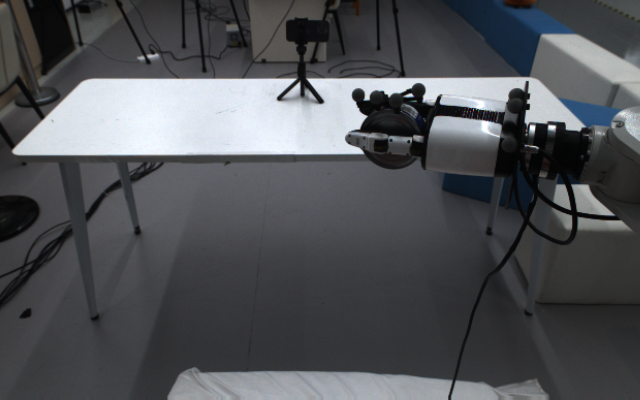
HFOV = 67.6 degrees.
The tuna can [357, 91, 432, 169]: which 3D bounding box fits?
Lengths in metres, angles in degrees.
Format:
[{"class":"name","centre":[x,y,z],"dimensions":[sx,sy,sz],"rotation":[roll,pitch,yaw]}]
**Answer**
[{"class":"tuna can","centre":[0.099,-0.088,0.648],"dimensions":[0.085,0.085,0.034],"rotation":[15,34,17]}]
